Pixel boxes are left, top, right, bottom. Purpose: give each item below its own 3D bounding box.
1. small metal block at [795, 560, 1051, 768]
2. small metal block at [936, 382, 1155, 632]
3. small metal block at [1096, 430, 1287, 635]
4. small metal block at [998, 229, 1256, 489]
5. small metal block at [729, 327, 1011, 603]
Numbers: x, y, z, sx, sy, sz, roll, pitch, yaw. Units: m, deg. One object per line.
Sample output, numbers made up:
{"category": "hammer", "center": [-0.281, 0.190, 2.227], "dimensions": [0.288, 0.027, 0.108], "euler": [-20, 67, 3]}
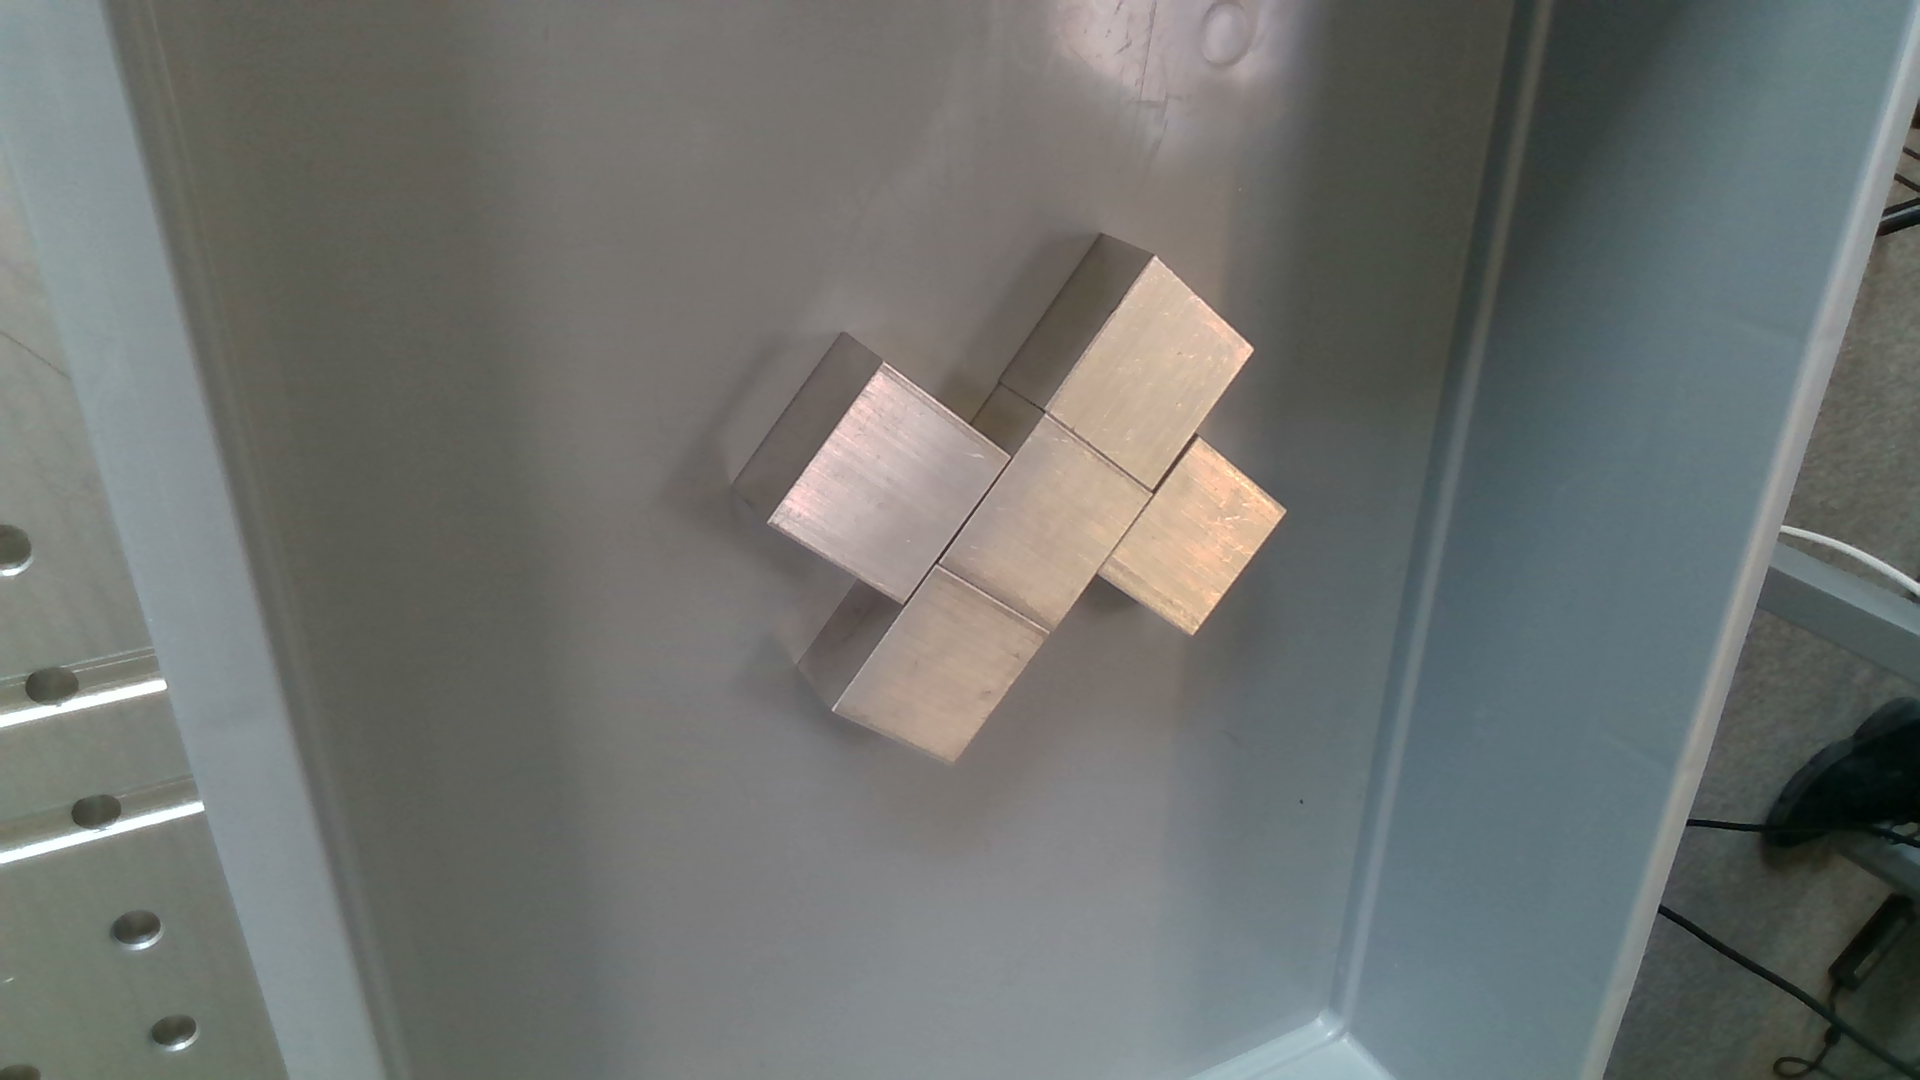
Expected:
{"category": "small metal block", "center": [-0.010, 0.032, 0.398], "dimensions": [0.050, 0.025, 0.050], "euler": [32, 96, -39]}
{"category": "small metal block", "center": [0.019, -0.009, 0.394], "dimensions": [0.050, 0.025, 0.050], "euler": [32, 96, -39]}
{"category": "small metal block", "center": [0.065, -0.006, 0.424], "dimensions": [0.050, 0.025, 0.050], "euler": [32, 96, -40]}
{"category": "small metal block", "center": [0.048, -0.050, 0.390], "dimensions": [0.050, 0.025, 0.050], "euler": [32, 96, -39]}
{"category": "small metal block", "center": [-0.023, -0.019, 0.364], "dimensions": [0.050, 0.025, 0.050], "euler": [34, 95, -38]}
